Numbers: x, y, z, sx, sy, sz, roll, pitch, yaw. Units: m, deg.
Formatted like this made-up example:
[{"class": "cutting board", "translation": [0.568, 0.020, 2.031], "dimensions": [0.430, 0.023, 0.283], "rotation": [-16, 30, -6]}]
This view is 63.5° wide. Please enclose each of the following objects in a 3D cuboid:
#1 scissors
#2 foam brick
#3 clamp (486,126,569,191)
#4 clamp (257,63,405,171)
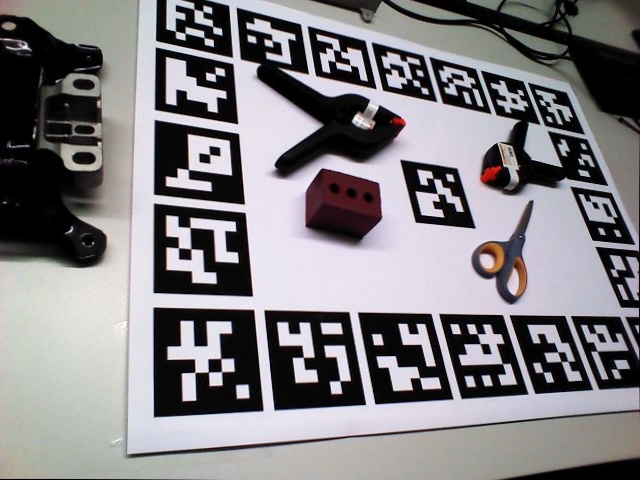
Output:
[{"class": "scissors", "translation": [0.280, 0.005, 0.734], "dimensions": [0.088, 0.016, 0.201], "rotation": [43, 52, -9]}, {"class": "foam brick", "translation": [0.028, -0.037, 0.618], "dimensions": [0.078, 0.052, 0.052], "rotation": [10, 62, -16]}, {"class": "clamp", "translation": [0.320, -0.123, 0.818], "dimensions": [0.164, 0.037, 0.121], "rotation": [-26, 85, -33]}, {"class": "clamp", "translation": [0.025, -0.155, 0.686], "dimensions": [0.202, 0.037, 0.165], "rotation": [1, 61, -27]}]
